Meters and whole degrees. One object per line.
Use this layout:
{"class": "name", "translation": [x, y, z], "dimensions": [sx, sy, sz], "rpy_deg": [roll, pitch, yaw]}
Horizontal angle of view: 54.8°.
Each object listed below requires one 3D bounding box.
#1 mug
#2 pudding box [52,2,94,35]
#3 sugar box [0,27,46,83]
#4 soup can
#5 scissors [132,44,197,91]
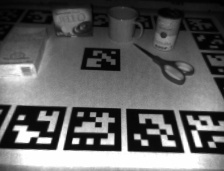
{"class": "mug", "translation": [0.039, -0.187, 0.640], "dimensions": [0.094, 0.082, 0.116], "rpy_deg": [-29, 54, -23]}
{"class": "pudding box", "translation": [-0.110, -0.195, 0.627], "dimensions": [0.114, 0.090, 0.038], "rpy_deg": [-6, 54, -9]}
{"class": "sugar box", "translation": [-0.232, -0.085, 0.557], "dimensions": [0.093, 0.045, 0.175], "rpy_deg": [-1, 49, -2]}
{"class": "soup can", "translation": [0.154, -0.157, 0.617], "dimensions": [0.068, 0.102, 0.067], "rpy_deg": [1, 46, 0]}
{"class": "scissors", "translation": [0.130, -0.064, 0.576], "dimensions": [0.088, 0.016, 0.200], "rpy_deg": [-38, 61, -21]}
